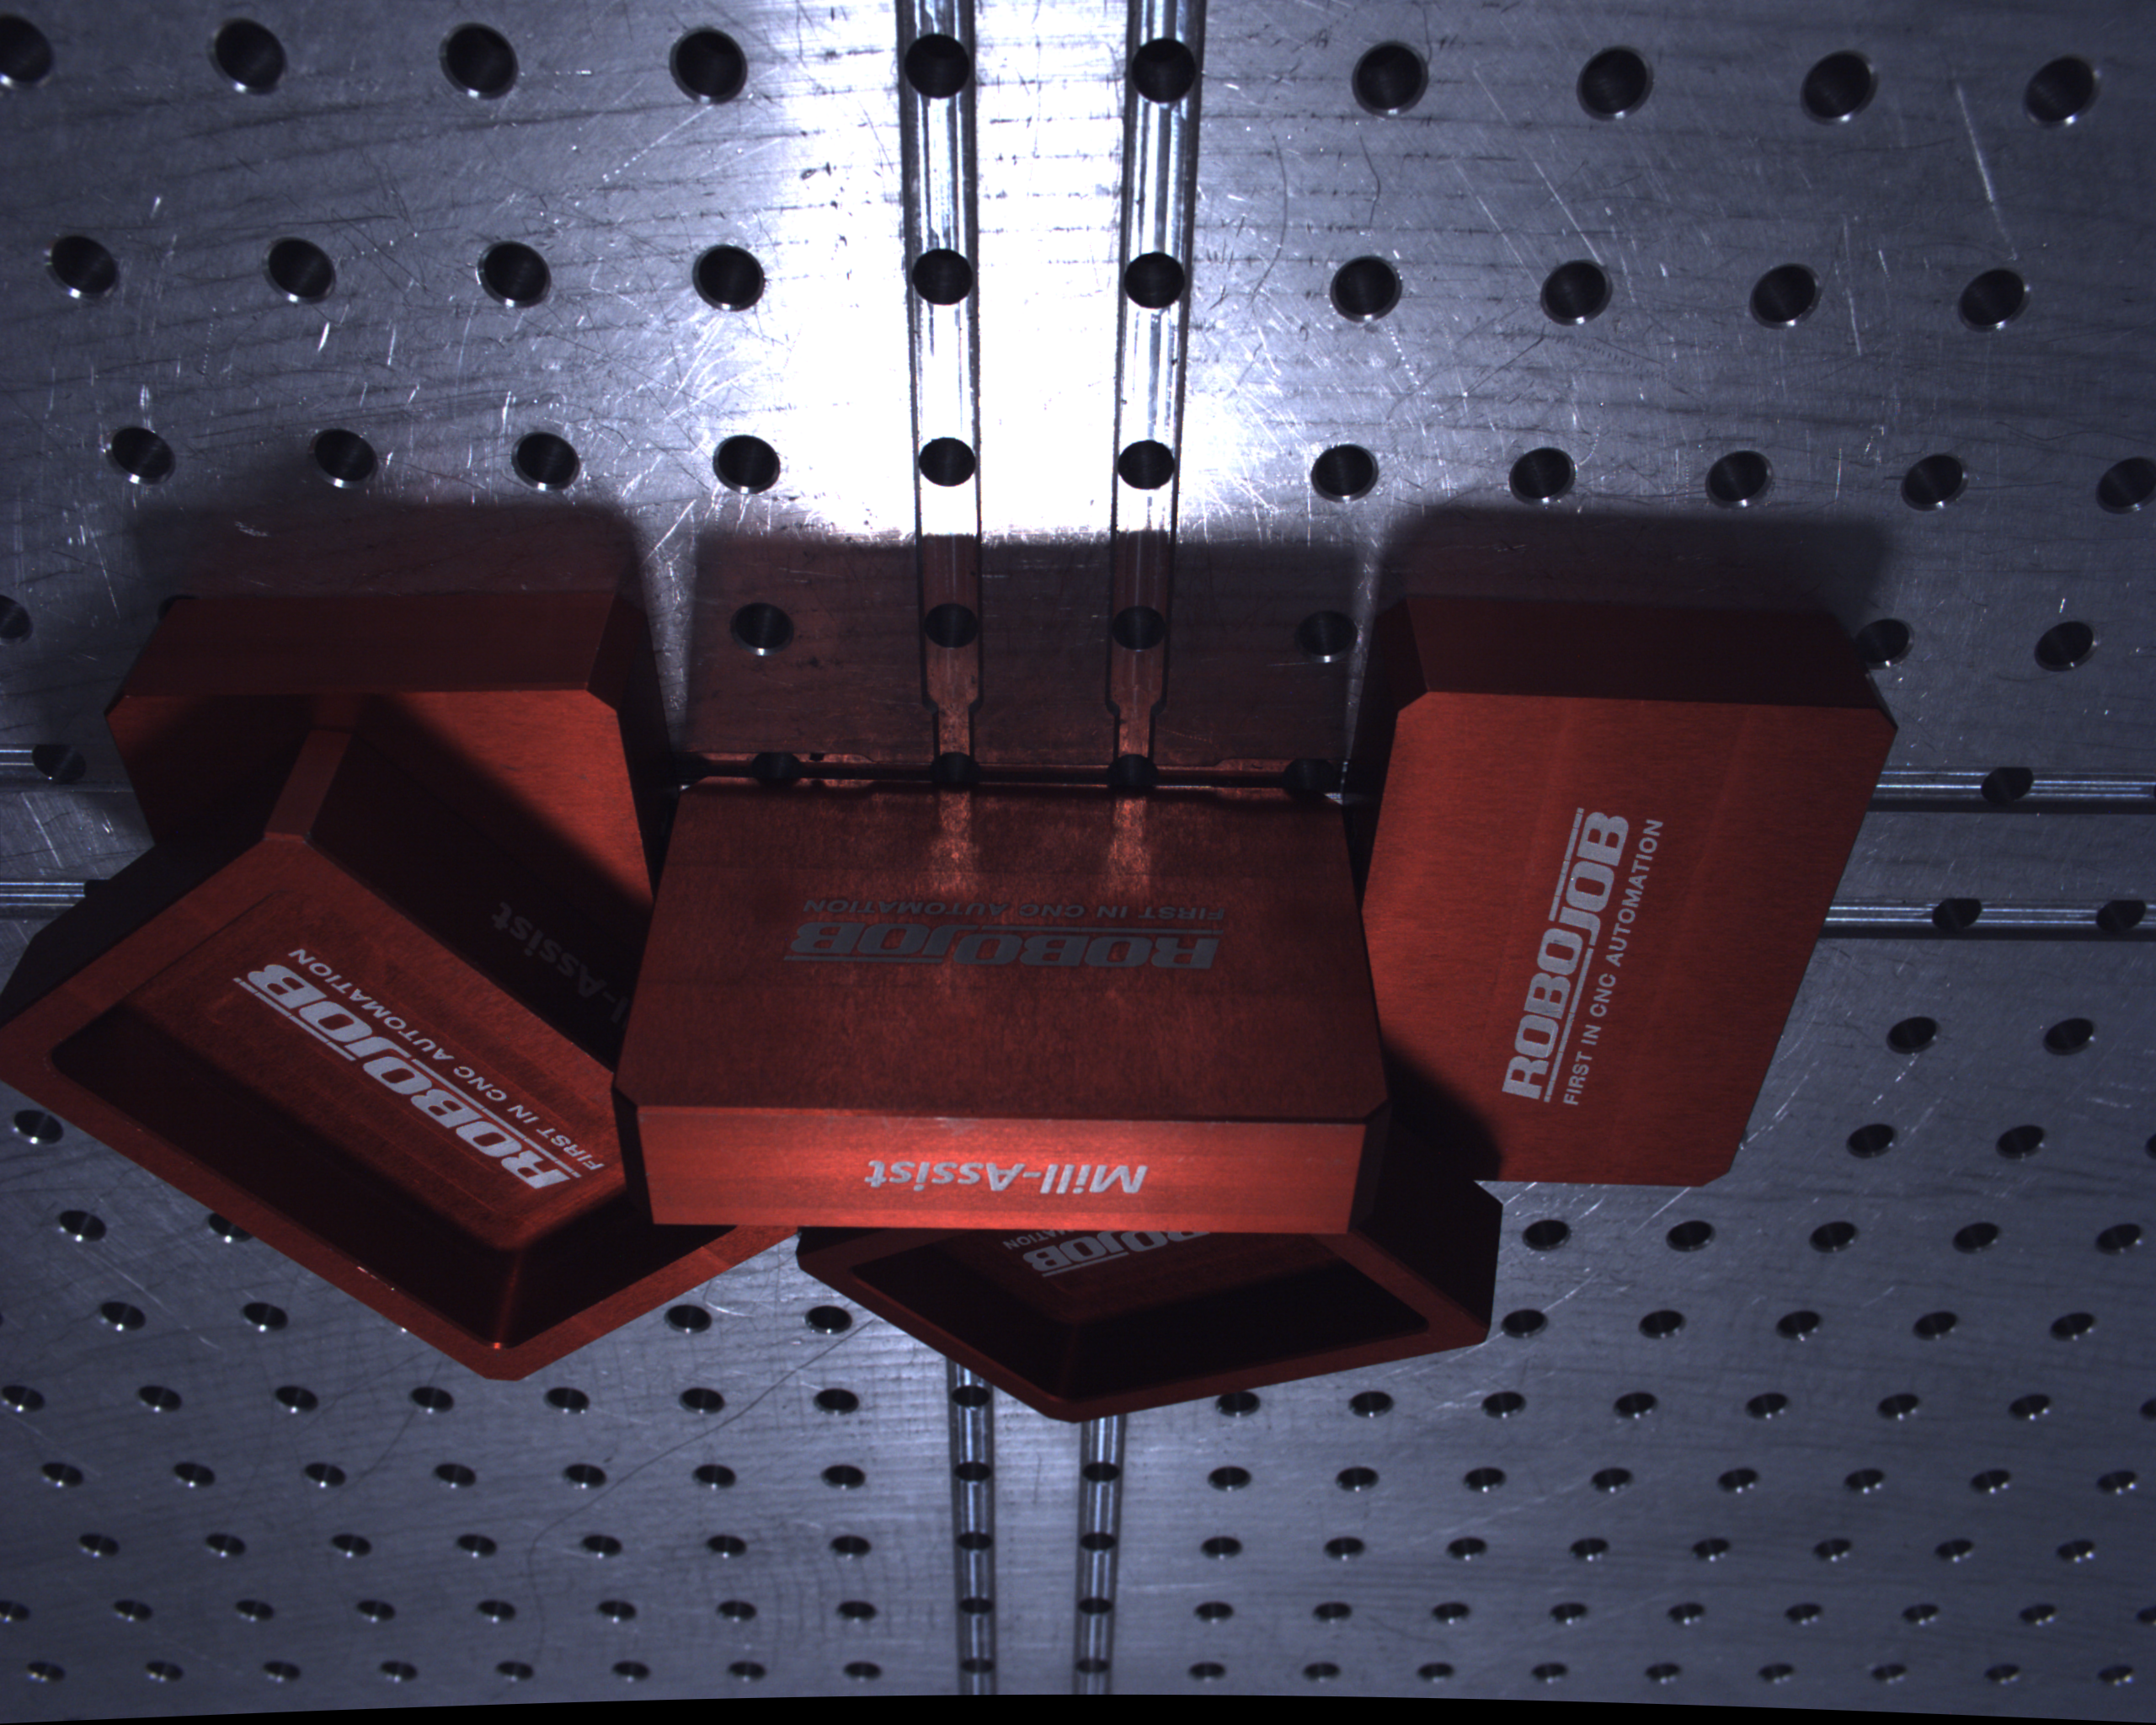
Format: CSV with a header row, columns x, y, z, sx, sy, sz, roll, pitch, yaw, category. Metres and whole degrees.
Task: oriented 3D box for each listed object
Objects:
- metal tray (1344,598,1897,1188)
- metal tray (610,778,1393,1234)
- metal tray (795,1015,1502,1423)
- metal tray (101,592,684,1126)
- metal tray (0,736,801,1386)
x,y,z,sx,sy,sz,roll,pitch,yaw,category
0.097,0.011,0.418,0.091,0.030,0.129,2,130,-3,metal tray
-0.013,0.024,0.388,0.131,0.090,0.030,1,130,-2,metal tray
0.013,0.082,0.454,0.130,0.030,0.090,-24,129,40,metal tray
-0.125,0.009,0.414,0.091,0.030,0.129,-1,131,0,metal tray
-0.127,0.044,0.403,0.090,0.030,0.130,-31,125,23,metal tray
